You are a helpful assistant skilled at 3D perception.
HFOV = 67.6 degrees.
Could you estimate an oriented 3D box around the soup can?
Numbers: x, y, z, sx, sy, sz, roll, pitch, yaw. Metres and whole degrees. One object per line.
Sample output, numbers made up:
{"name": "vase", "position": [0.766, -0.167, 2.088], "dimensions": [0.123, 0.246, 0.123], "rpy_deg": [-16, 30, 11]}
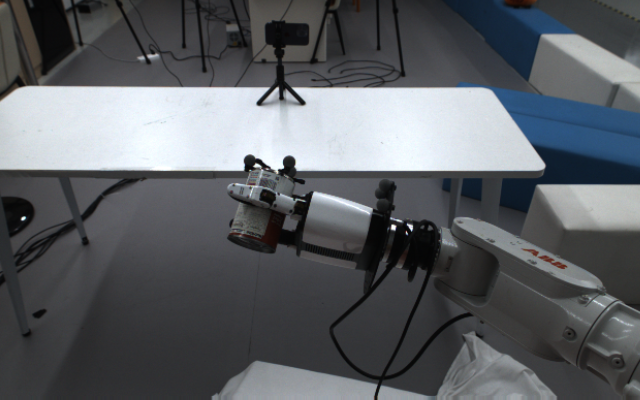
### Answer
{"name": "soup can", "position": [-0.078, 0.015, 0.663], "dimensions": [0.067, 0.067, 0.101], "rpy_deg": [11, 72, 13]}
